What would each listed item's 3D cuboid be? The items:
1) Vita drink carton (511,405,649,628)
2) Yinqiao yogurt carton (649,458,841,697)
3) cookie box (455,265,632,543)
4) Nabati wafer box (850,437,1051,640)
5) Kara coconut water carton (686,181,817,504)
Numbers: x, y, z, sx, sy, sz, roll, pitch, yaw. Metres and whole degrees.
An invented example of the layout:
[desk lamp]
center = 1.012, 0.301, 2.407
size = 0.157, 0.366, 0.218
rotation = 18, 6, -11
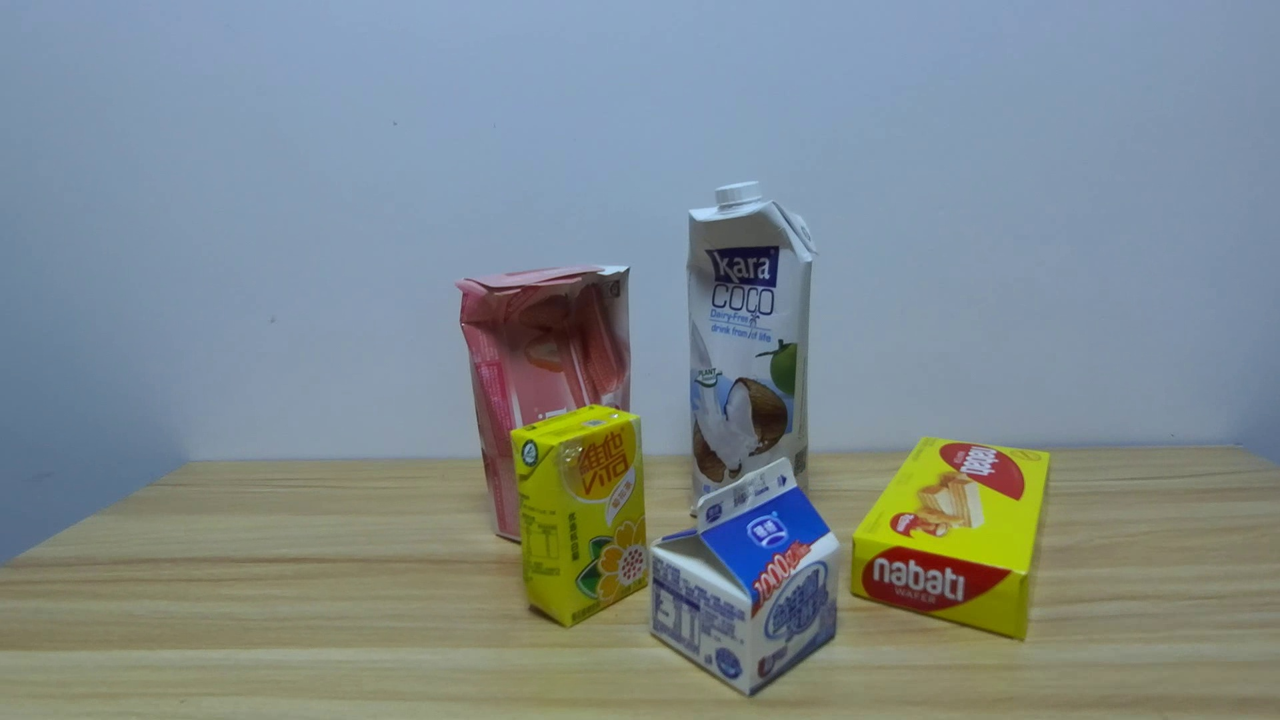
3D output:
[Vita drink carton]
center = -0.035, 0.088, 0.408
size = 0.077, 0.109, 0.043
rotation = -14, 17, -41
[Yinqiao yogurt carton]
center = 0.054, 0.103, 0.367
size = 0.076, 0.092, 0.073
rotation = -14, 19, -39
[cookie box]
center = -0.060, 0.031, 0.499
size = 0.119, 0.184, 0.055
rotation = -15, 18, -40
[Nabati wafer box]
center = 0.214, 0.104, 0.468
size = 0.092, 0.042, 0.204
rotation = 7, 15, 32
[Kara coconut water carton]
center = 0.075, -0.002, 0.496
size = 0.114, 0.238, 0.069
rotation = 11, 20, 43
